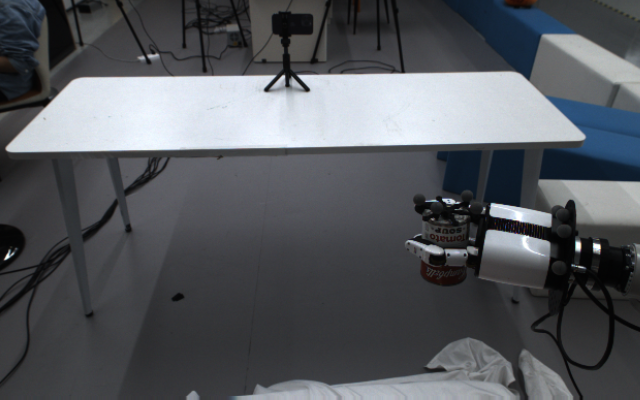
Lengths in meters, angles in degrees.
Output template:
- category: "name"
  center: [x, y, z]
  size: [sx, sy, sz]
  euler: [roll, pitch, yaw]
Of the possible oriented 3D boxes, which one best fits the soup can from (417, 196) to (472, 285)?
- category: "soup can"
  center: [0.183, 0.063, 0.705]
  size: [0.067, 0.101, 0.067]
  euler: [-3, 26, 2]
